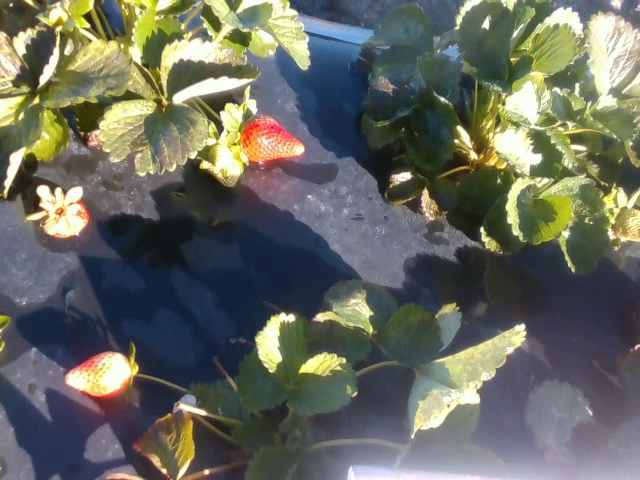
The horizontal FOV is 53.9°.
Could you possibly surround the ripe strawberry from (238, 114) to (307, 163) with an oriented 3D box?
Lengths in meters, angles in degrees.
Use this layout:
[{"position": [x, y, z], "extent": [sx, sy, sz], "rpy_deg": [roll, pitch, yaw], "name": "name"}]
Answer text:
[{"position": [-0.041, -0.084, 0.534], "extent": [0.064, 0.050, 0.052], "rpy_deg": [15, 2, 4], "name": "ripe strawberry"}]
